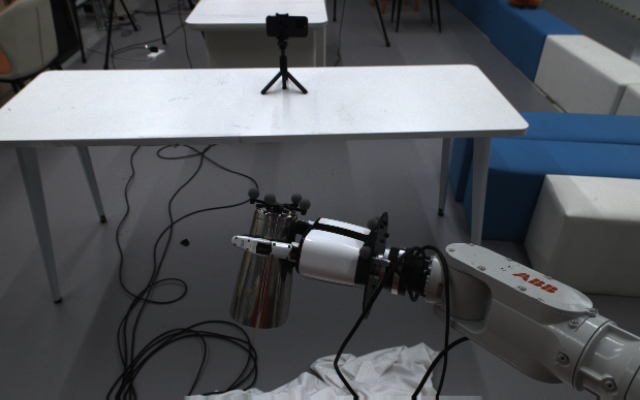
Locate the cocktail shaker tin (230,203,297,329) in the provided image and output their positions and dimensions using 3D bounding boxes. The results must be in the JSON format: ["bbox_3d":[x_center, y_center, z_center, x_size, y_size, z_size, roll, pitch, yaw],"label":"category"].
[{"bbox_3d":[-0.078,0.097,0.746,0.093,0.170,0.093,10,9,-2],"label":"cocktail shaker tin"}]
